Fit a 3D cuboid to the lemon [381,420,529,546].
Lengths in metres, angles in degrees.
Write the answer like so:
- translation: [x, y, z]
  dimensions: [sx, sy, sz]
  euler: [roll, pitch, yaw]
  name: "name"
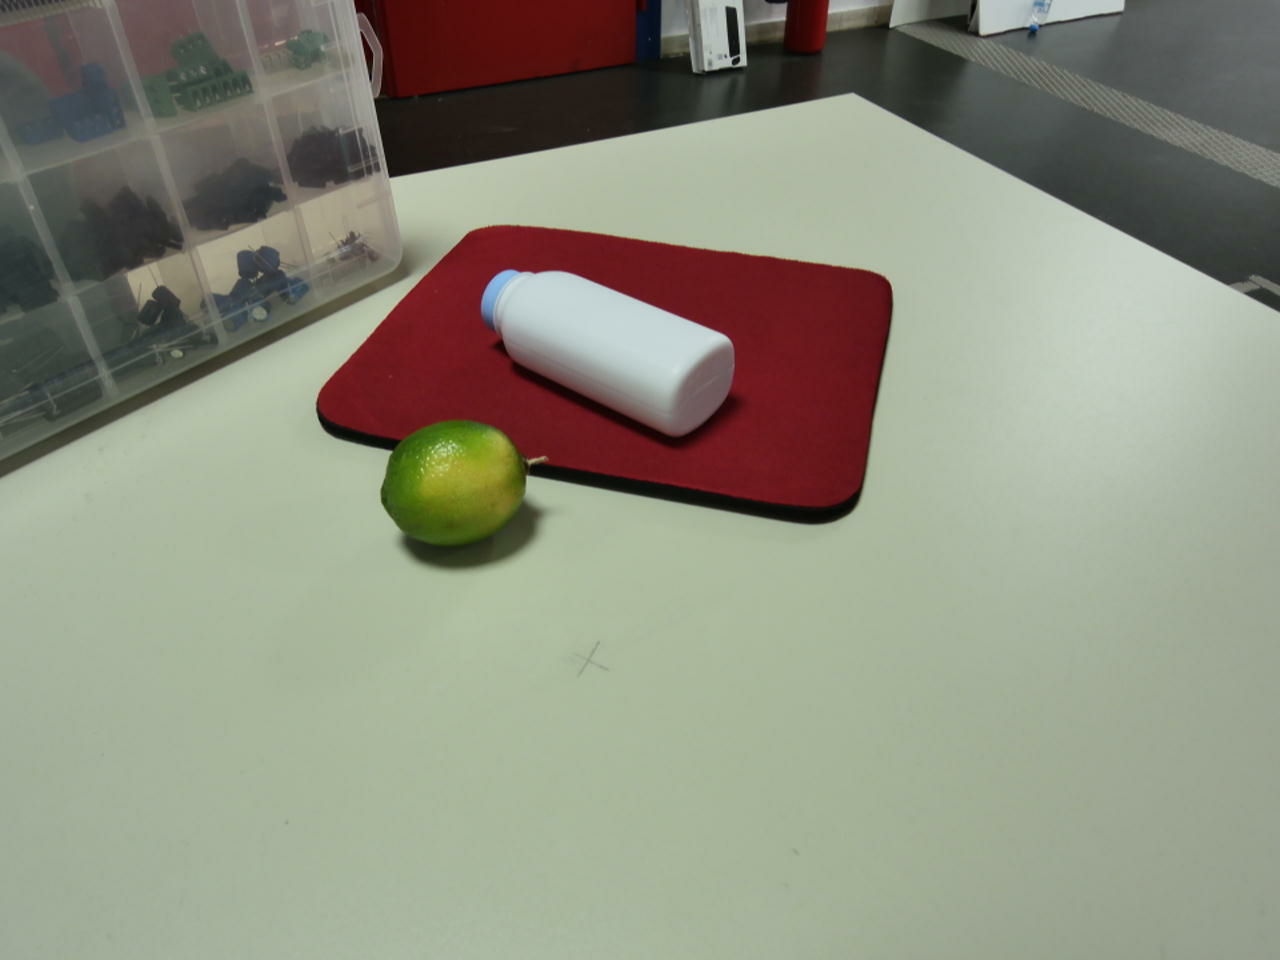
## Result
- translation: [-0.077, 0.001, 0.411]
  dimensions: [0.055, 0.050, 0.054]
  euler: [16, 40, 18]
  name: "lemon"
